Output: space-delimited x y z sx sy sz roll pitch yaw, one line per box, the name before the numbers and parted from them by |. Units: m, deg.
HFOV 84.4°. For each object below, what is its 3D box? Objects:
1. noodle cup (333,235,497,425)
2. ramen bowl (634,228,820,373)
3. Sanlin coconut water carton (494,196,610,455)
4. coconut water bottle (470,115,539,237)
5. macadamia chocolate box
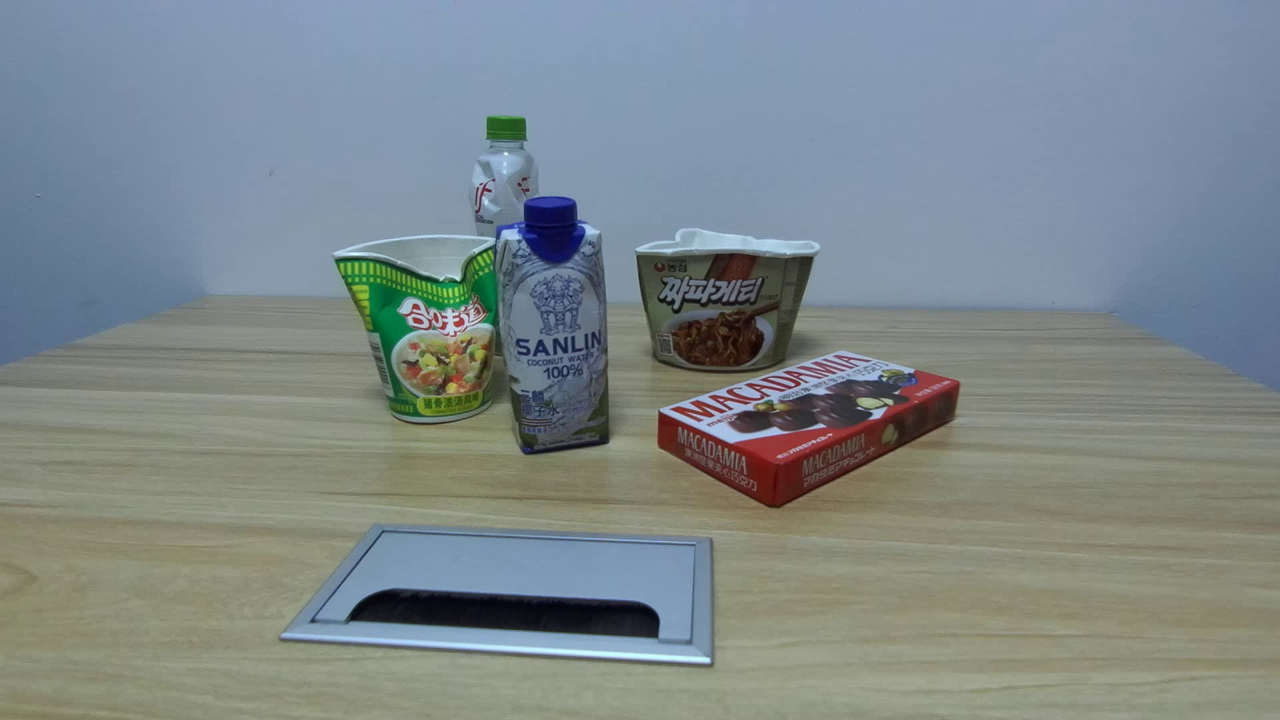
noodle cup | -0.136 -0.023 0.469 0.082 0.122 0.075 -5 11 11
ramen bowl | 0.074 -0.051 0.569 0.133 0.097 0.114 6 20 19
Sanlin coconut water carton | -0.050 -0.022 0.415 0.061 0.144 0.060 -6 18 -15
coconut water bottle | -0.107 -0.101 0.580 0.067 0.187 0.067 1 16 0
macadamia chocolate box | 0.107 0.033 0.433 0.179 0.027 0.095 -15 23 -37
